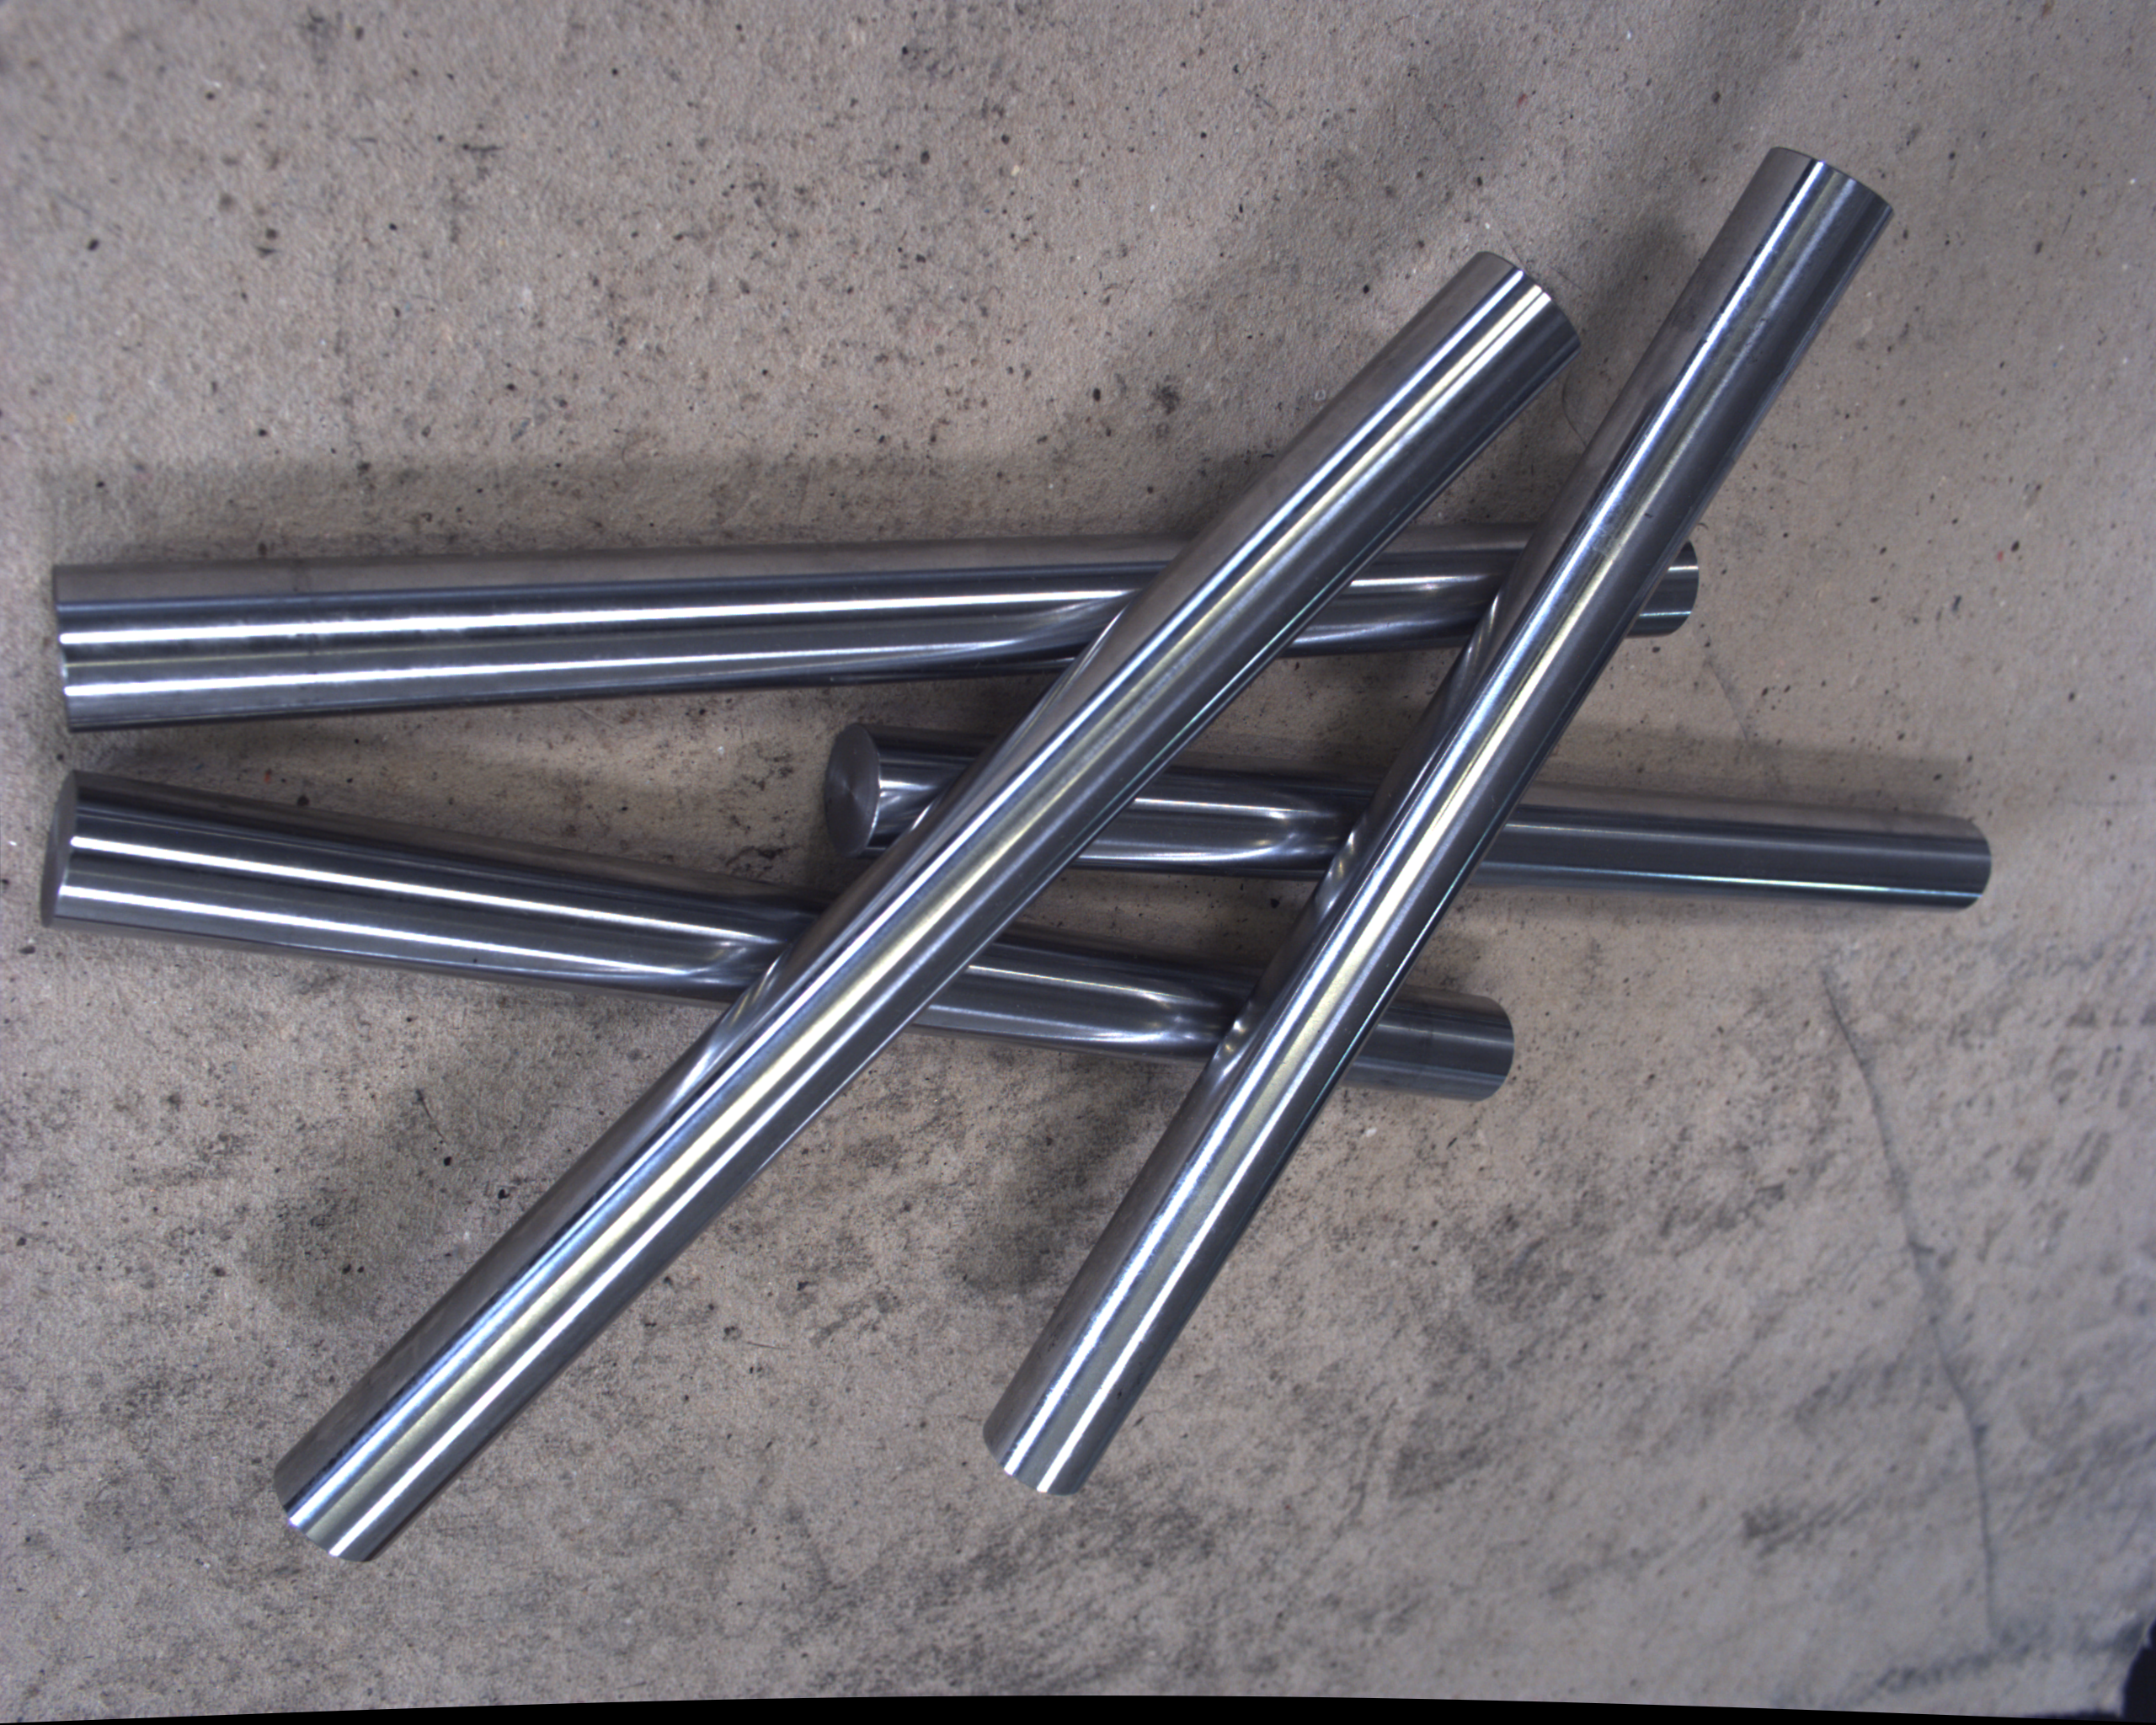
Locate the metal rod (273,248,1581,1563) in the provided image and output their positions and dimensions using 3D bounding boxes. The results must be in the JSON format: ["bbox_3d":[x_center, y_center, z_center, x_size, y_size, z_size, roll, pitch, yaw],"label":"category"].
[{"bbox_3d":[-0.028,0.010,0.366,0.300,0.025,0.025,-45,129,3],"label":"metal rod"}]

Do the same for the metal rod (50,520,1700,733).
[{"bbox_3d":[-0.014,-0.046,0.372,0.303,0.025,0.025,-6,121,-26],"label":"metal rod"}]

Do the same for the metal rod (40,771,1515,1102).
[{"bbox_3d":[-0.032,0.021,0.403,0.302,0.025,0.025,10,113,-33],"label":"metal rod"}]

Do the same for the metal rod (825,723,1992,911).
[{"bbox_3d":[0.090,-0.006,0.453,0.302,0.025,0.025,3,117,-30],"label":"metal rod"}]

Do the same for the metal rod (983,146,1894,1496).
[{"bbox_3d":[0.063,0.003,0.412,0.025,0.025,0.298,19,108,-36],"label":"metal rod"}]
